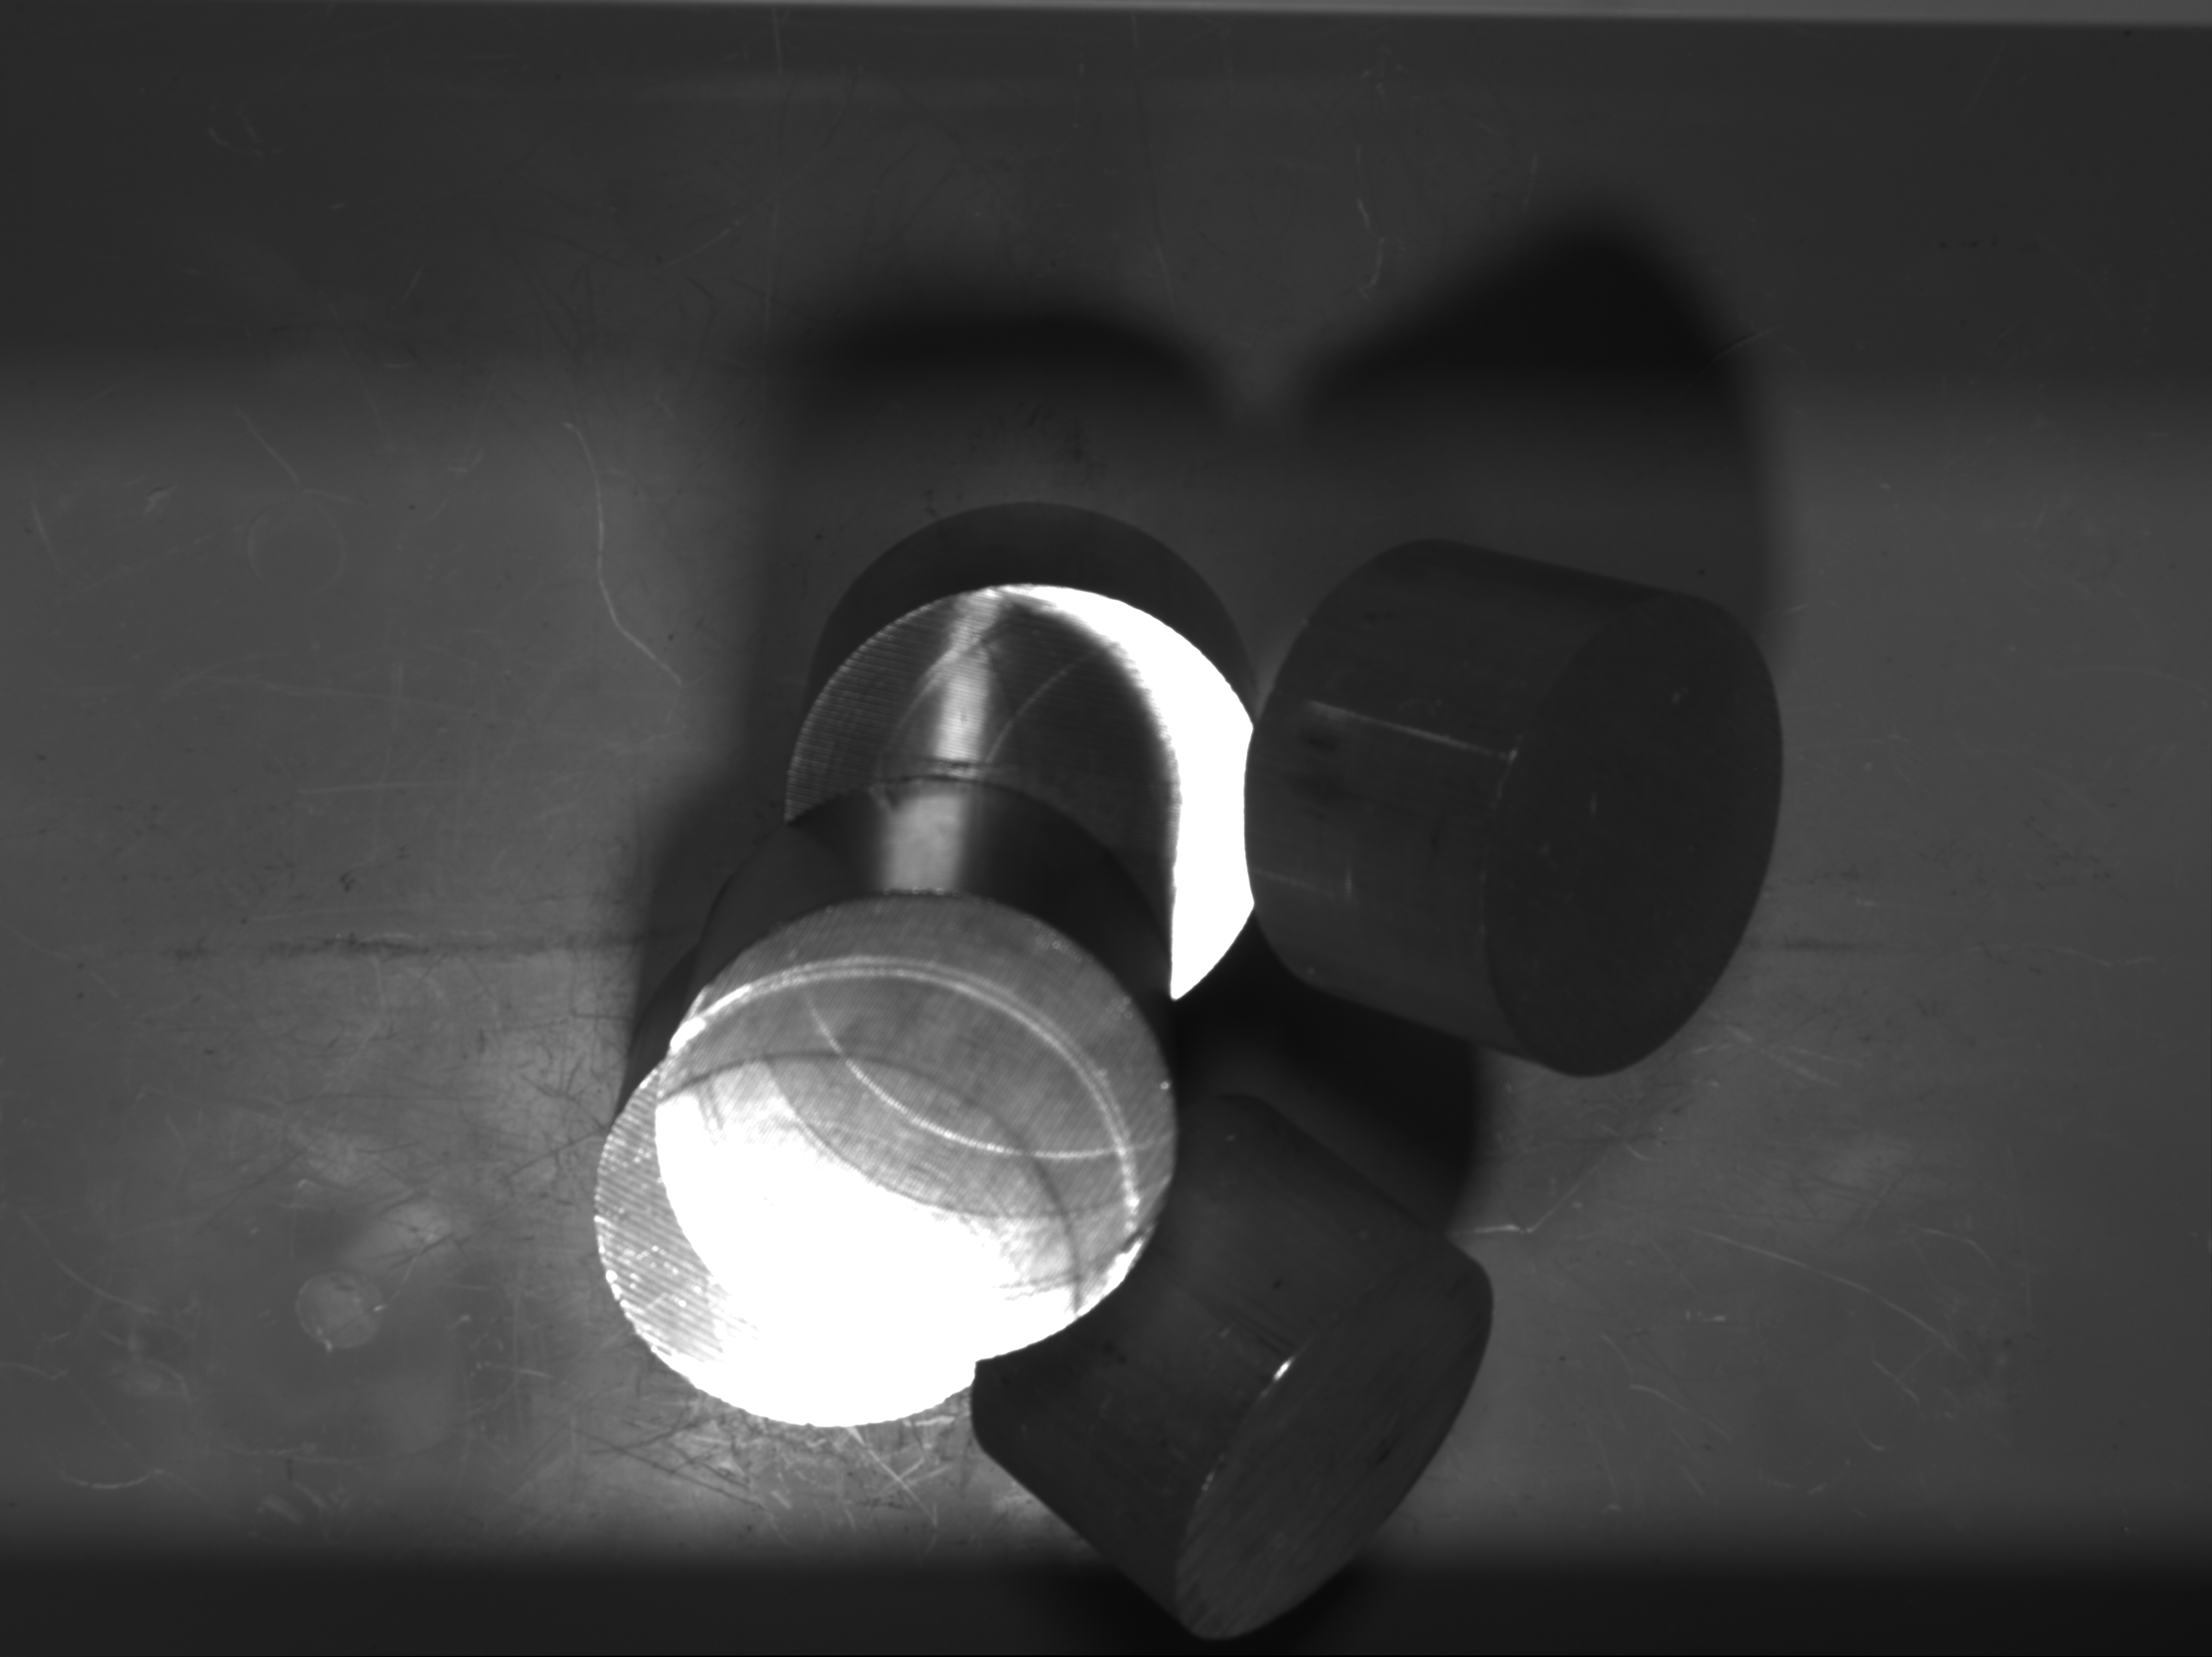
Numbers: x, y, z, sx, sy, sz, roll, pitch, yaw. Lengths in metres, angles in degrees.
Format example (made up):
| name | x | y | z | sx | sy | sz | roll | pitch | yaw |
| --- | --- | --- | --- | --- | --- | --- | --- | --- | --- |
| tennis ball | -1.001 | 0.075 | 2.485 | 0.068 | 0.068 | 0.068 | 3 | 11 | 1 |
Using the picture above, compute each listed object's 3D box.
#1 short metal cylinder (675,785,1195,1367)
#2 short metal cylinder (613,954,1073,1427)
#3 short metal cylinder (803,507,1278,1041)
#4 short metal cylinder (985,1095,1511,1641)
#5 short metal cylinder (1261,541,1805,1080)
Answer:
| name | x | y | z | sx | sy | sz | roll | pitch | yaw |
| --- | --- | --- | --- | --- | --- | --- | --- | --- | --- |
| short metal cylinder | -0.027 | 0.039 | 0.588 | 0.080 | 0.050 | 0.080 | 0 | 110 | -1 |
| short metal cylinder | -0.044 | 0.058 | 0.650 | 0.080 | 0.050 | 0.080 | 0 | 110 | -1 |
| short metal cylinder | -0.010 | -0.010 | 0.624 | 0.080 | 0.050 | 0.080 | 0 | 110 | -1 |
| short metal cylinder | 0.025 | 0.094 | 0.640 | 0.050 | 0.080 | 0.080 | 36 | 111 | 30 |
| short metal cylinder | 0.071 | -0.004 | 0.606 | 0.080 | 0.050 | 0.080 | -17 | 115 | -42 |
